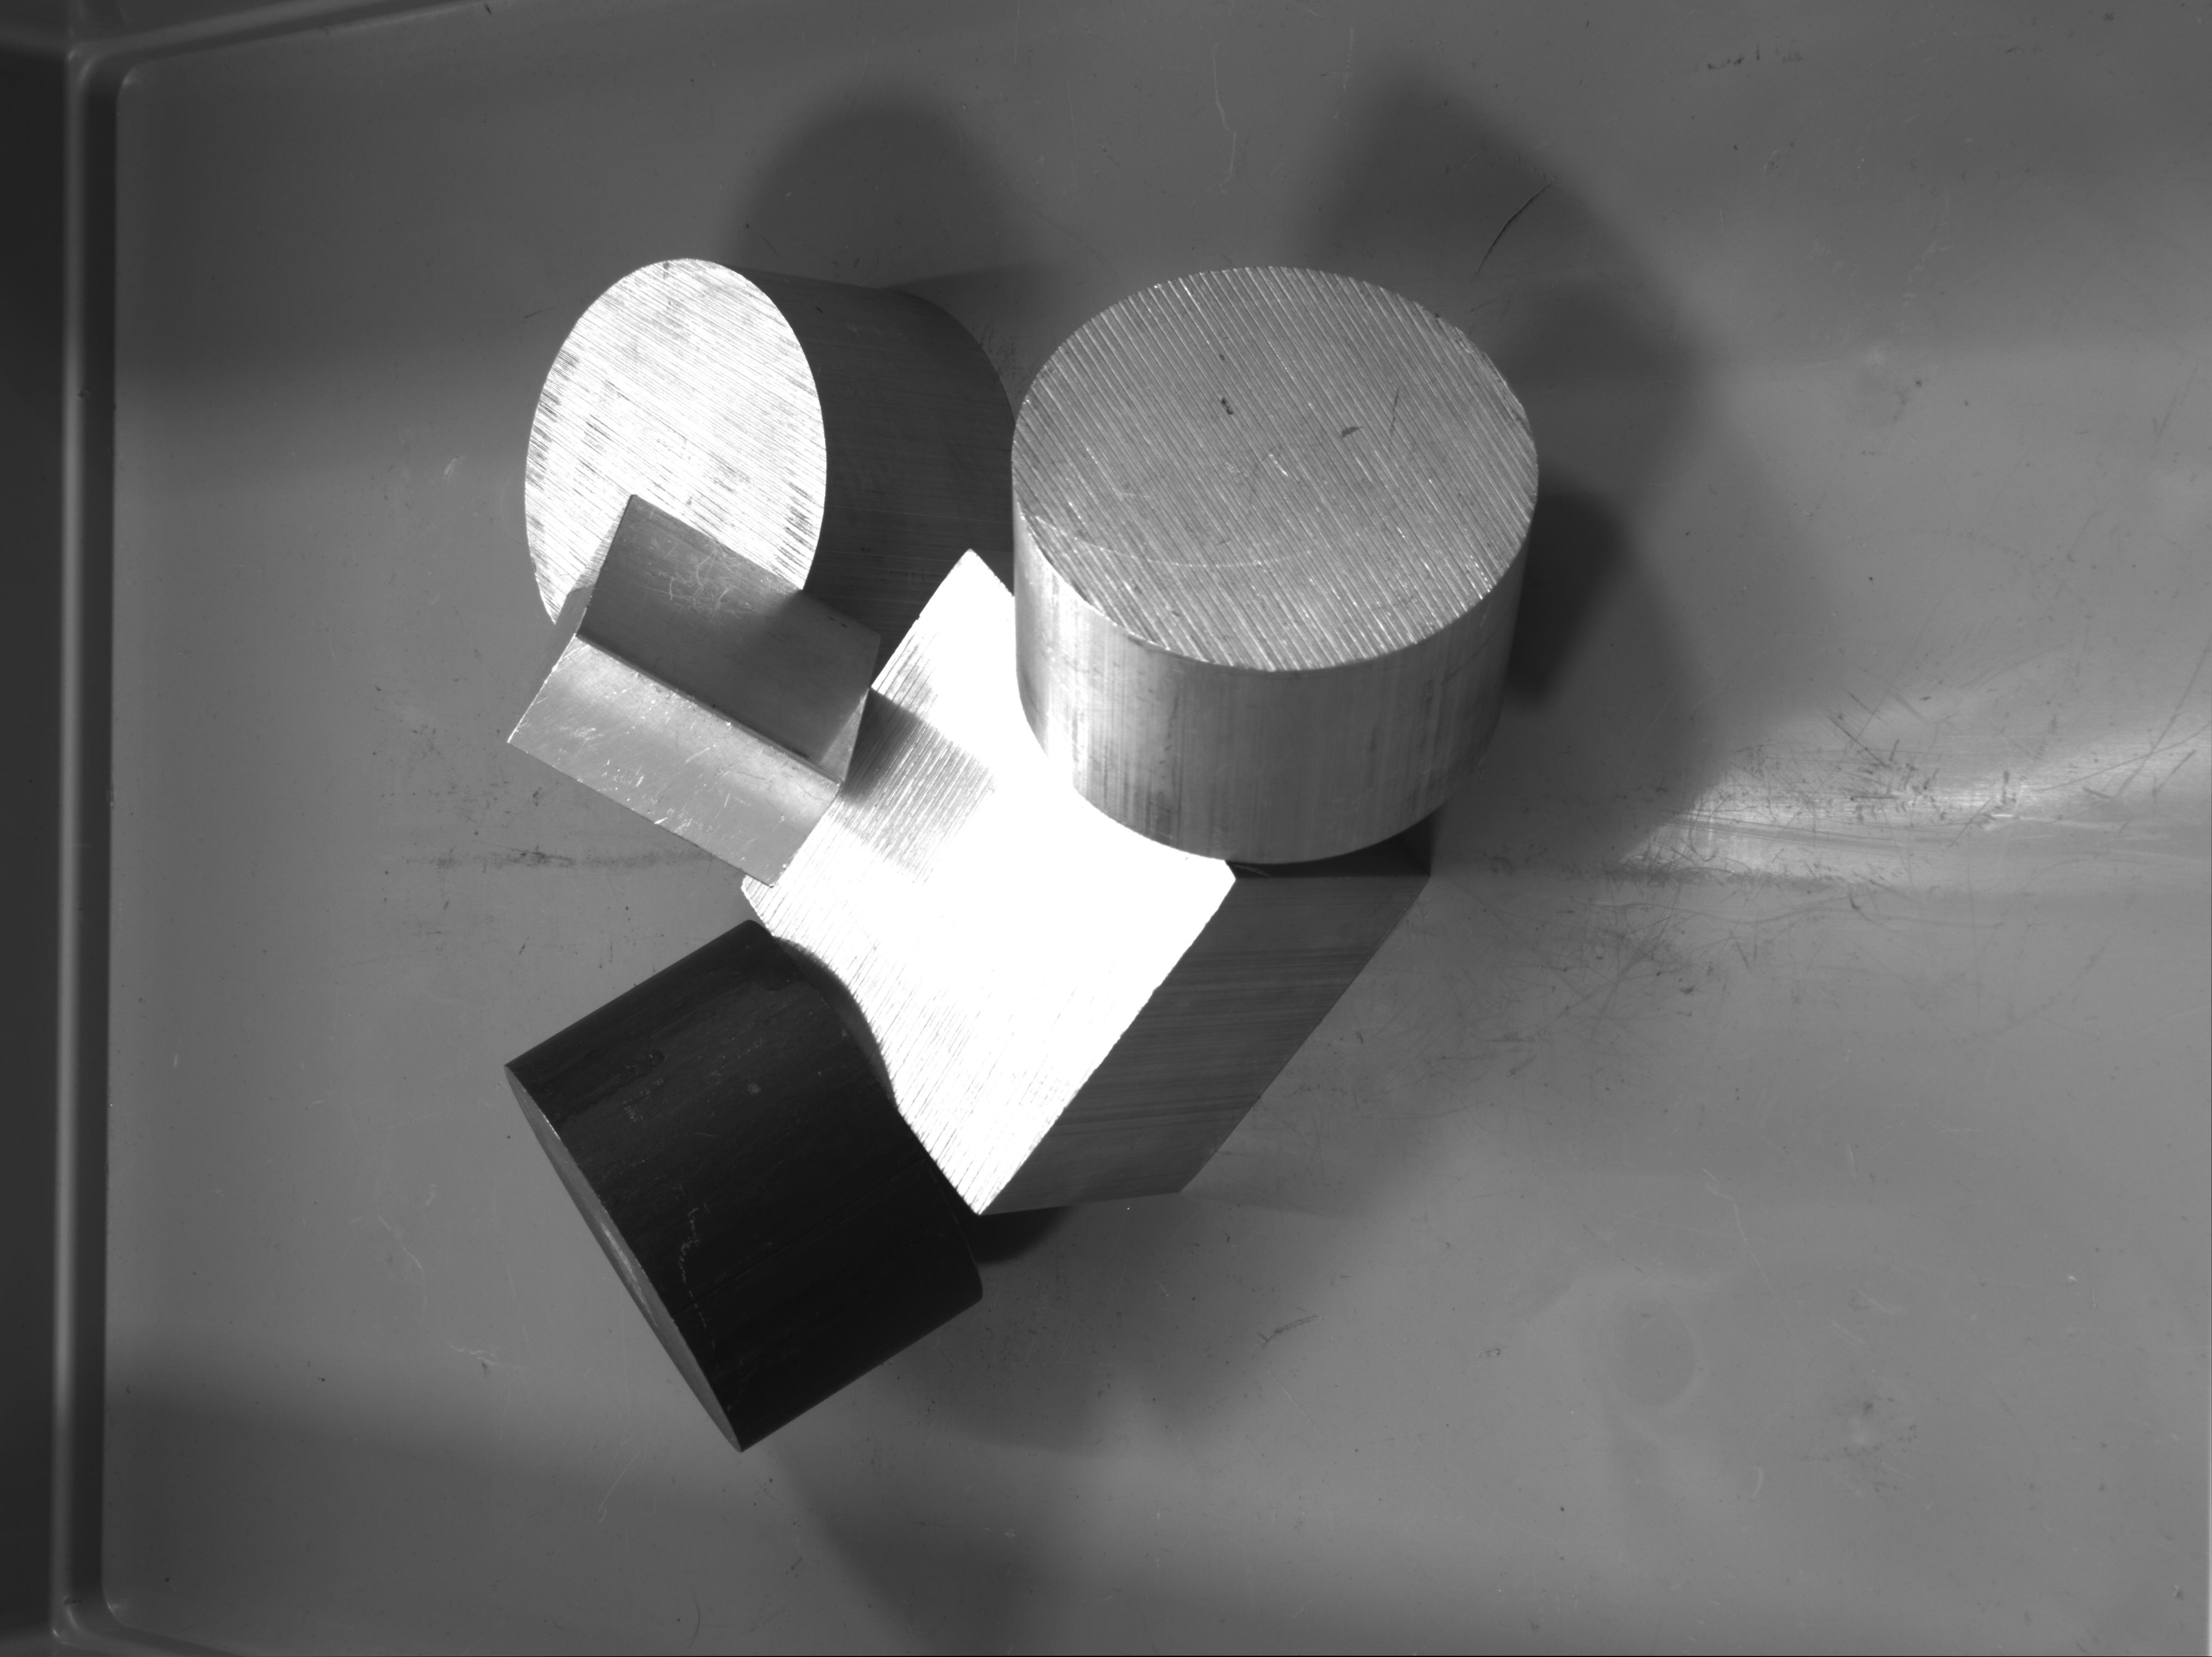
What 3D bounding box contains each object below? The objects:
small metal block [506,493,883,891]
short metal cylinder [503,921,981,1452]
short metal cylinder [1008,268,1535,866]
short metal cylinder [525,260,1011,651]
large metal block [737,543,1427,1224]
[{"bbox_3d":[-0.068,-0.024,0.620,0.025,0.050,0.050,-53,15,29],"label":"small metal block"},{"bbox_3d":[-0.065,0.064,0.655,0.050,0.080,0.080,-32,70,-13],"label":"short metal cylinder"},{"bbox_3d":[0.025,-0.041,0.578,0.080,0.080,0.050,51,158,28],"label":"short metal cylinder"},{"bbox_3d":[-0.062,-0.062,0.680,0.080,0.050,0.080,0,90,40],"label":"short metal cylinder"},{"bbox_3d":[-0.006,0.009,0.630,0.080,0.050,0.080,52,120,28],"label":"large metal block"}]
